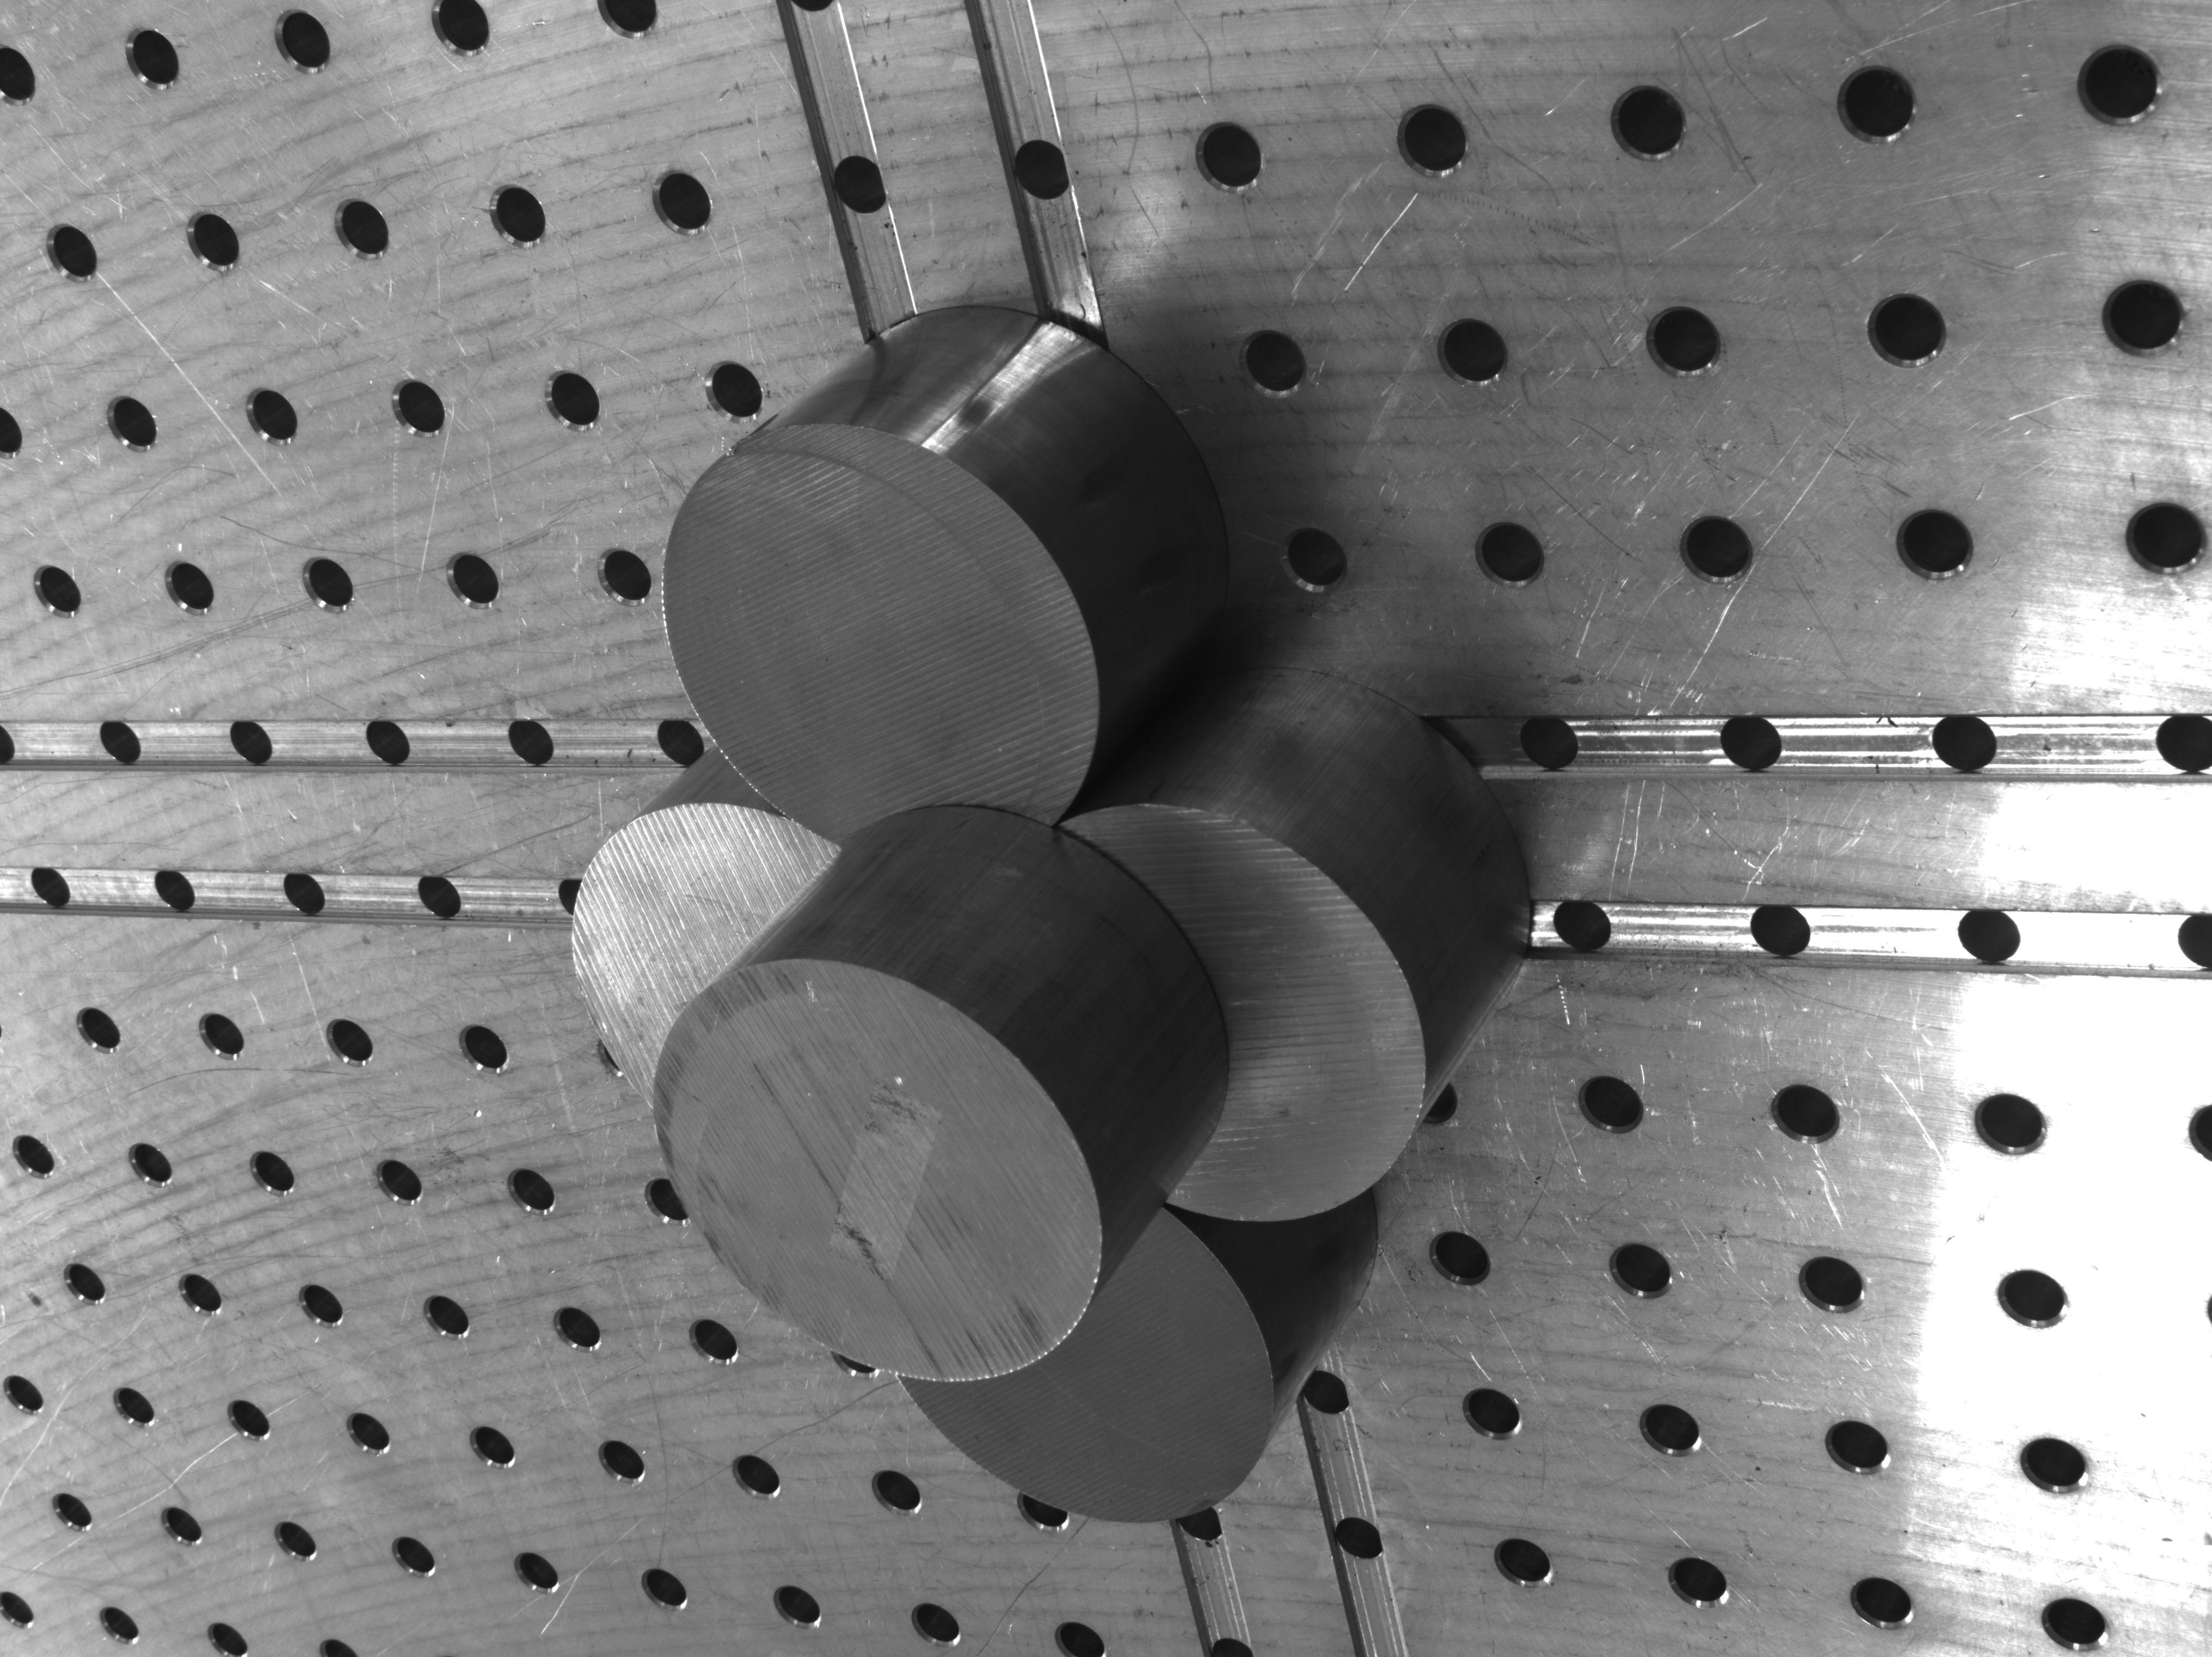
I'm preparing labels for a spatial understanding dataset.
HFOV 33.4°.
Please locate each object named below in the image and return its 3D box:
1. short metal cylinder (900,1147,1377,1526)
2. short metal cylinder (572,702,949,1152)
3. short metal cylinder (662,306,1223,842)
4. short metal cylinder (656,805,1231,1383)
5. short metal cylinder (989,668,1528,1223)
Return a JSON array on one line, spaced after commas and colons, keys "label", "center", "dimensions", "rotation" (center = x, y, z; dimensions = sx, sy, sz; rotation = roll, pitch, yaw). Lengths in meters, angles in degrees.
[{"label": "short metal cylinder", "center": [0.003, 0.080, 0.676], "dimensions": [0.080, 0.050, 0.080], "rotation": [13, 121, 22]}, {"label": "short metal cylinder", "center": [-0.049, 0.019, 0.667], "dimensions": [0.080, 0.050, 0.080], "rotation": [13, 124, 21]}, {"label": "short metal cylinder", "center": [-0.027, -0.041, 0.618], "dimensions": [0.080, 0.050, 0.080], "rotation": [13, 123, 20]}, {"label": "short metal cylinder", "center": [-0.026, 0.043, 0.604], "dimensions": [0.080, 0.050, 0.080], "rotation": [13, 124, 21]}, {"label": "short metal cylinder", "center": [0.026, 0.020, 0.627], "dimensions": [0.080, 0.050, 0.080], "rotation": [13, 124, 21]}]
